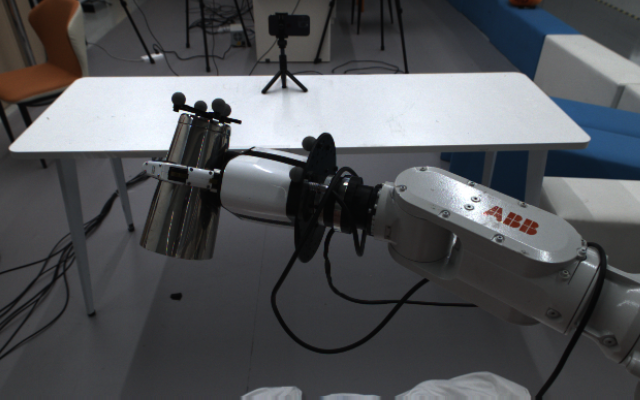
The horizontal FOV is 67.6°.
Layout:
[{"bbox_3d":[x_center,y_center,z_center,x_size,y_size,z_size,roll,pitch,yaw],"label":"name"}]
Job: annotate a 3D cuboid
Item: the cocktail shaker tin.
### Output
[{"bbox_3d":[-0.165,-0.017,0.618,0.093,0.170,0.093,13,2,-1],"label":"cocktail shaker tin"}]
